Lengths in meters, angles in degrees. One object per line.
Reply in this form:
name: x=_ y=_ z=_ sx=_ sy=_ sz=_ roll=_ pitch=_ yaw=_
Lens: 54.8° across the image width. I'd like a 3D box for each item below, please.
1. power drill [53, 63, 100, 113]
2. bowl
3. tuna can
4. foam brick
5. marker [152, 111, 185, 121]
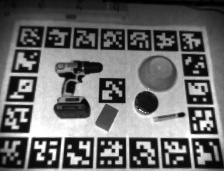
power drill: x=-0.136 y=0.003 z=0.794 sx=0.185 sy=0.057 sz=0.186 roll=1 pitch=68 yaw=-6
bowl: x=0.174 y=-0.064 z=0.840 sx=0.161 sy=0.055 sz=0.161 roll=0 pitch=64 yaw=1
tuna can: x=0.123 y=0.057 z=0.795 sx=0.086 sy=0.034 sz=0.085 roll=2 pitch=71 yaw=-4
foam brick: x=-0.022 y=0.112 z=0.766 sx=0.051 sy=0.053 sz=0.078 roll=24 pitch=73 yaw=5
marker: x=0.208 y=0.110 z=0.788 sx=0.121 sy=0.020 sz=0.019 roll=-8 pitch=72 yaw=-6
